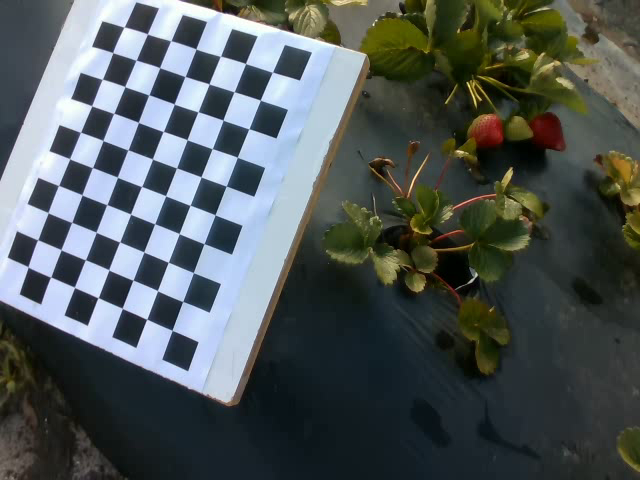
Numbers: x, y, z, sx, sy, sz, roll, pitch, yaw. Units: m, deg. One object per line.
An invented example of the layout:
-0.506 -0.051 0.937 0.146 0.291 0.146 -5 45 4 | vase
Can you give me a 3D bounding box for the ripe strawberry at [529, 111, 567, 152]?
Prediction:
0.286 -0.132 0.746 0.048 0.065 0.050 -30 -17 10 | ripe strawberry
